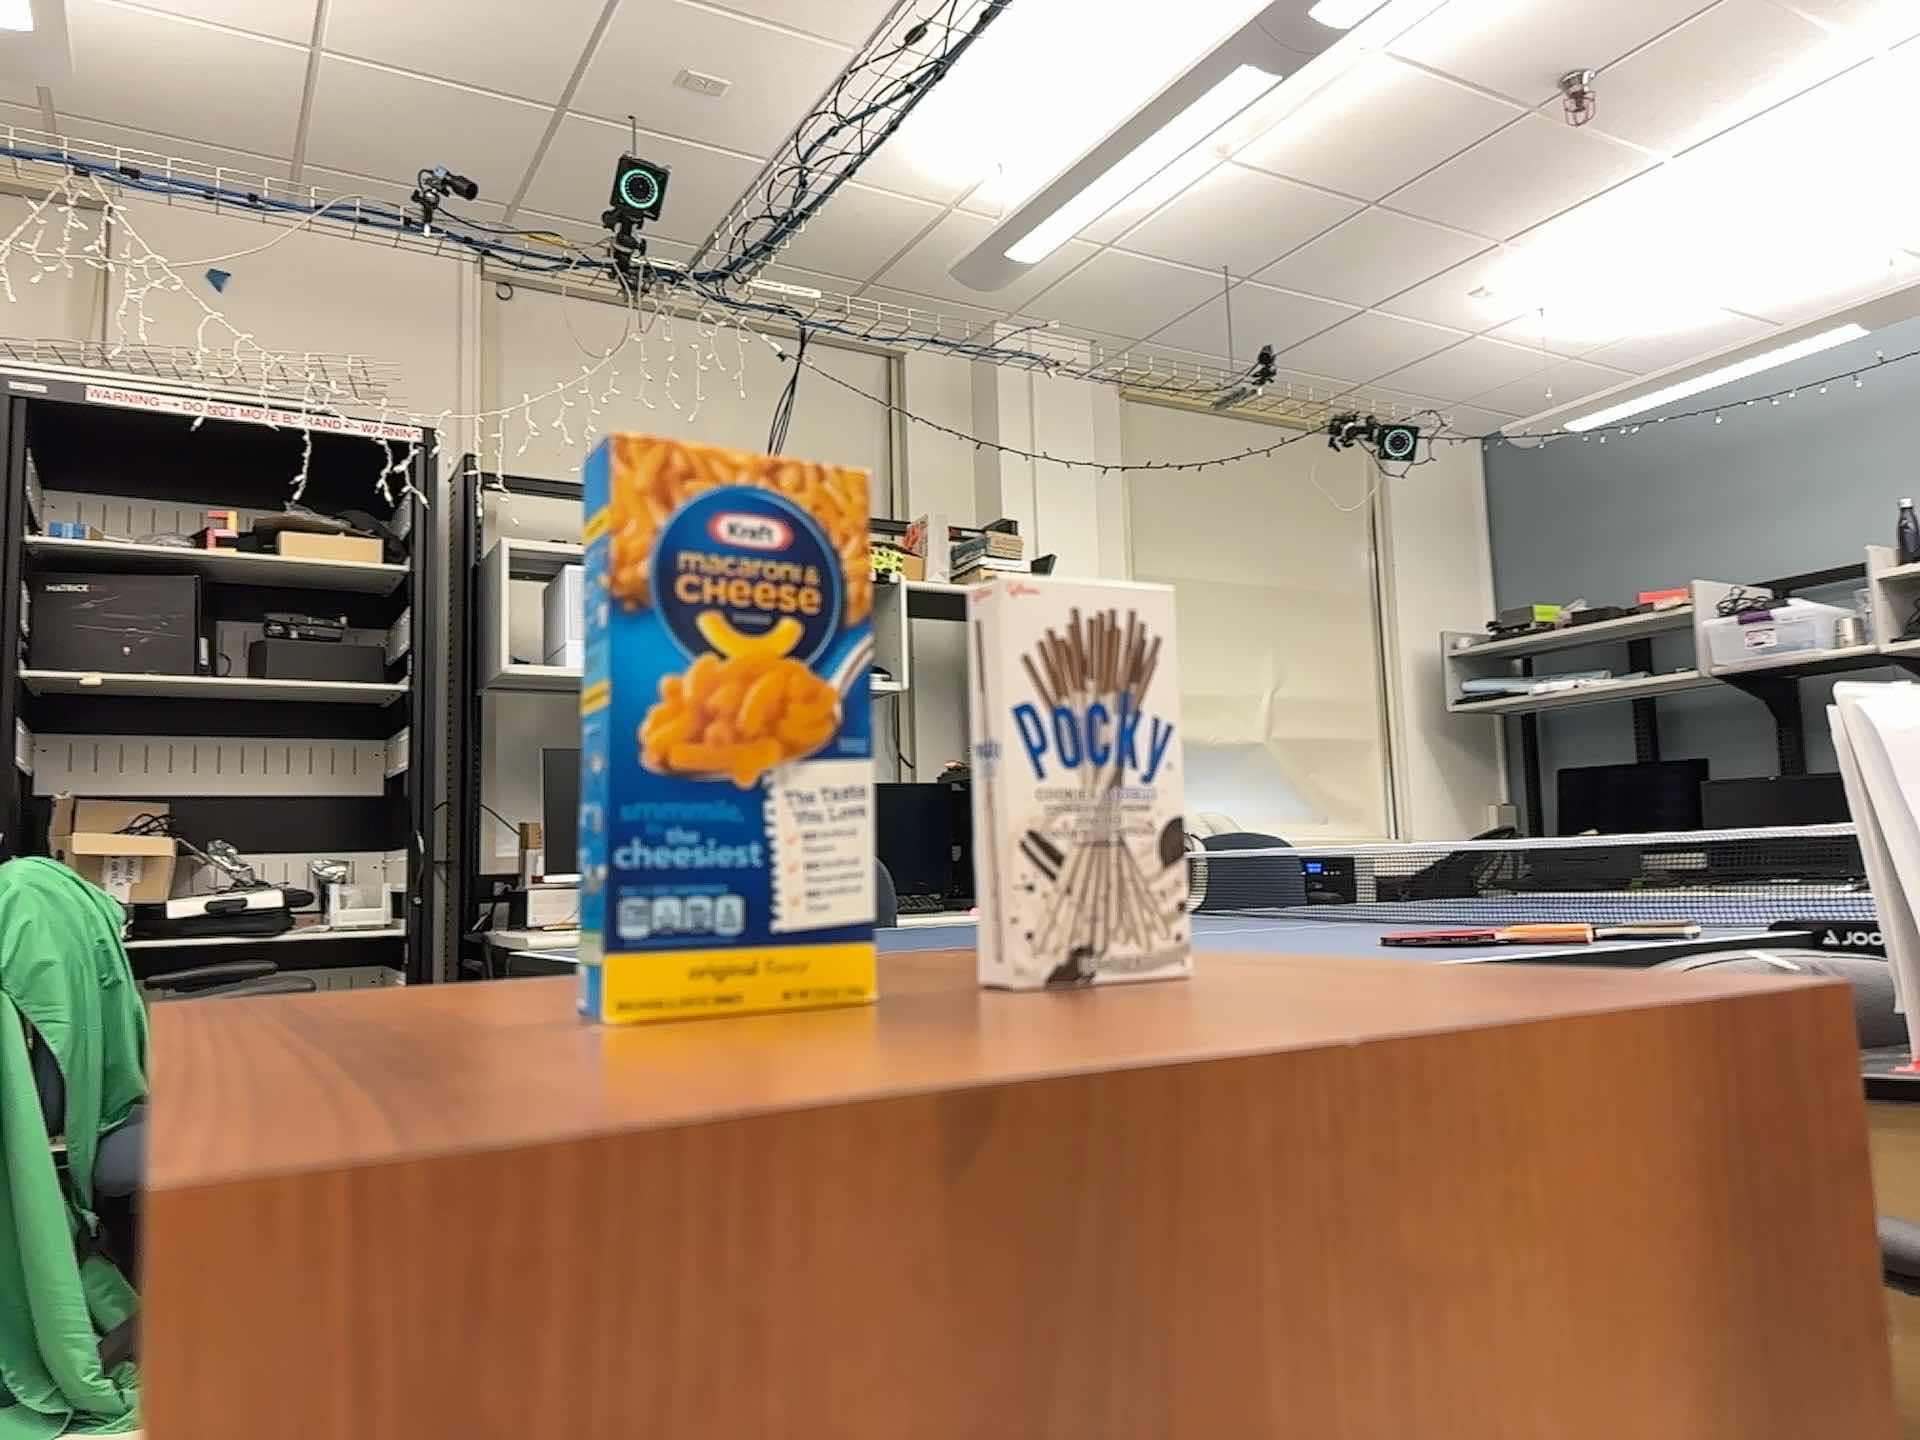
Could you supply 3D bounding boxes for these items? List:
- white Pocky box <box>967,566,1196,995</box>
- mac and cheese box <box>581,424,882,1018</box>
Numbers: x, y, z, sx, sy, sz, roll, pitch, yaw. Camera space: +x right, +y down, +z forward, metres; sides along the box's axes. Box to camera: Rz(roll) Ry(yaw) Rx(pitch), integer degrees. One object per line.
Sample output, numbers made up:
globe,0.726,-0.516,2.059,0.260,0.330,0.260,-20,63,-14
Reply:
white Pocky box,0.045,0.023,0.499,0.084,0.154,0.028,2,-7,-23
mac and cheese box,-0.075,0.001,0.444,0.088,0.181,0.035,2,-8,-26
